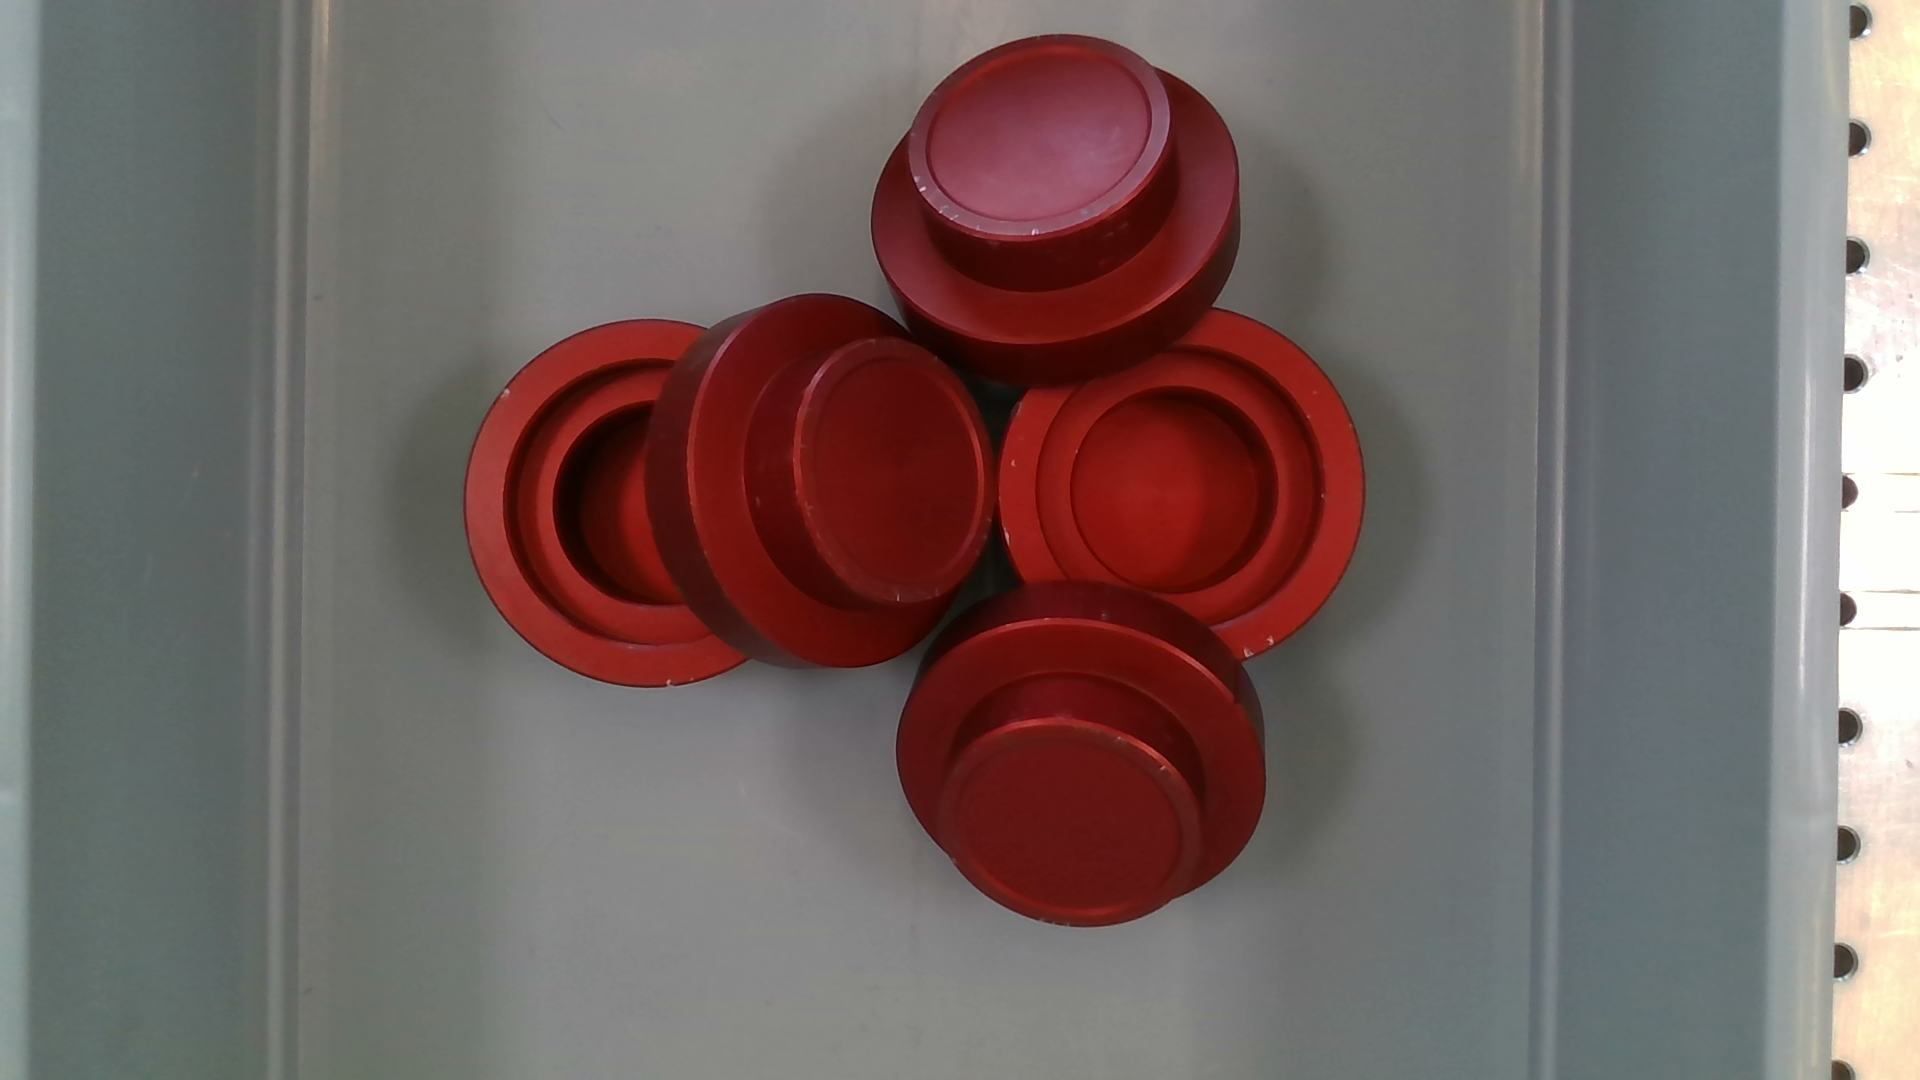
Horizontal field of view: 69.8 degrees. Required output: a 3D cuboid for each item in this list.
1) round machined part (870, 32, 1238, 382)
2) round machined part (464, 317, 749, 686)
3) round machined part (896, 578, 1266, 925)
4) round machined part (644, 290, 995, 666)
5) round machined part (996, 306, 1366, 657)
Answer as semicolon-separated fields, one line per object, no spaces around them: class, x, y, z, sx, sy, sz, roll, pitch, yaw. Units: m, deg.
round machined part;0.023;-0.094;0.364;0.098;0.042;0.098;-5;62;10
round machined part;-0.083;-0.010;0.385;0.098;0.042;0.098;0;90;0
round machined part;0.031;0.062;0.364;0.098;0.042;0.098;5;121;9
round machined part;-0.029;-0.016;0.357;0.042;0.098;0.098;-6;90;44
round machined part;0.058;-0.014;0.385;0.098;0.042;0.098;0;90;0
